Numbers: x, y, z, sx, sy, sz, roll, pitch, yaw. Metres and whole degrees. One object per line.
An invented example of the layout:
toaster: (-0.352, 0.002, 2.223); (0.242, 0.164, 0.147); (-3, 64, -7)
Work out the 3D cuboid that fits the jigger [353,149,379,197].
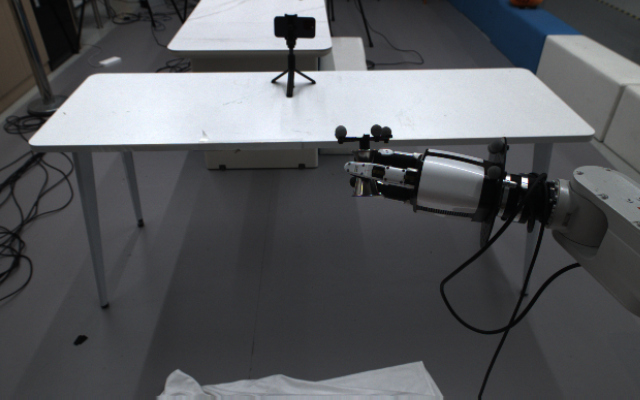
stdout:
jigger: (0.066, -0.041, 0.721); (0.043, 0.071, 0.043); (-2, 3, 0)
